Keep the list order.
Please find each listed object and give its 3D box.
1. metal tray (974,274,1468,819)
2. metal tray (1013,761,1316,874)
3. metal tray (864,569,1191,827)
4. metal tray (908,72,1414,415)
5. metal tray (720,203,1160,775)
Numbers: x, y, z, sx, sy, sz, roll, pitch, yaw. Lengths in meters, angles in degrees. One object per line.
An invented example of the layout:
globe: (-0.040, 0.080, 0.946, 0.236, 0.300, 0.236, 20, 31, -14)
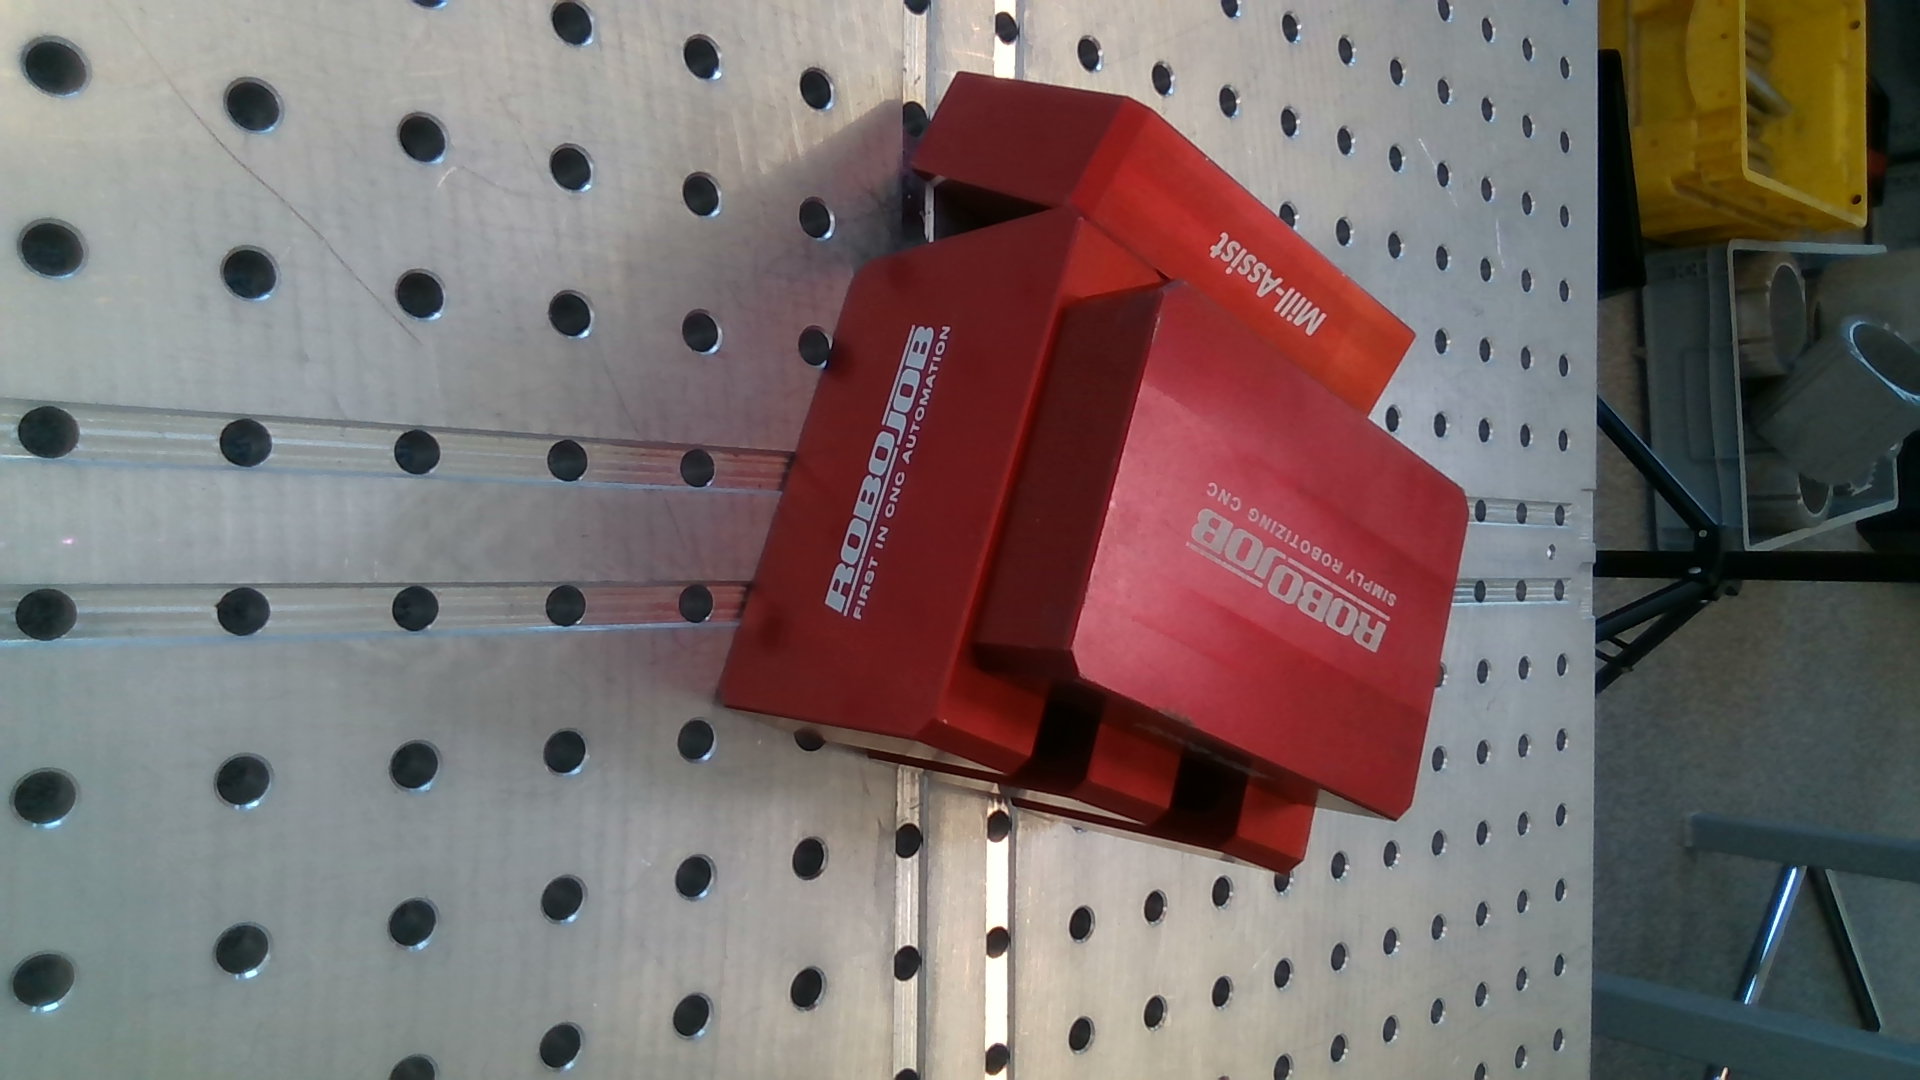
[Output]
metal tray: (0.069, 0.007, 0.330, 0.130, 0.030, 0.090, 26, 73, -37)
metal tray: (0.070, 0.025, 0.409, 0.030, 0.090, 0.130, 26, 73, -37)
metal tray: (0.027, 0.004, 0.373, 0.030, 0.090, 0.130, 26, 75, -38)
metal tray: (0.059, -0.083, 0.397, 0.130, 0.090, 0.030, 26, 95, -37)
metal tray: (-0.007, -0.013, 0.345, 0.030, 0.090, 0.130, 27, 73, -37)
